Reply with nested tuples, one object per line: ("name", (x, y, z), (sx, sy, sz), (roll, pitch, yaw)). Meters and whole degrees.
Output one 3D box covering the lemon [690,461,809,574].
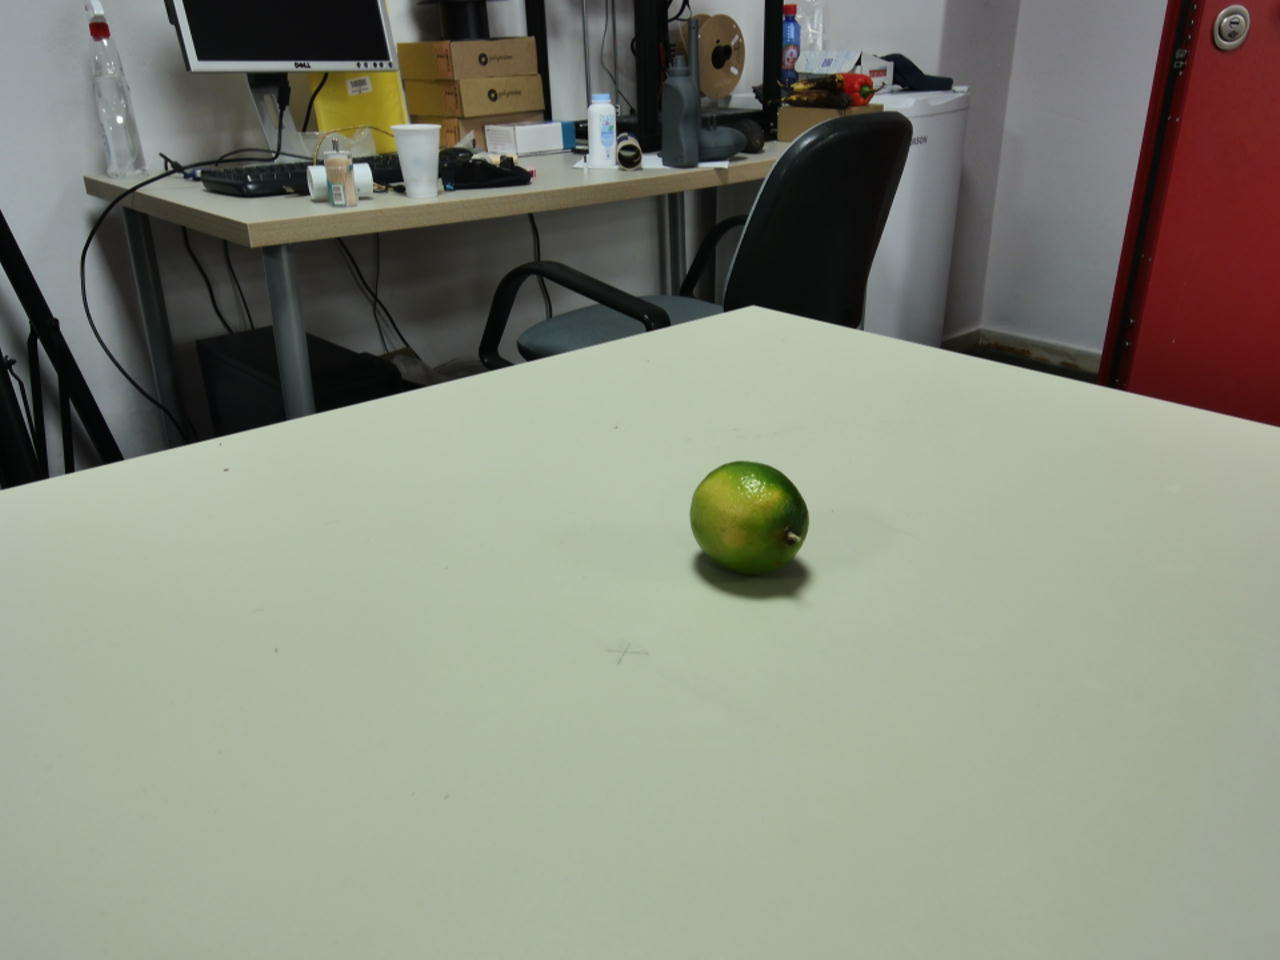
("lemon", (0.050, 0.017, 0.463), (0.054, 0.050, 0.055), (4, 22, 10))
